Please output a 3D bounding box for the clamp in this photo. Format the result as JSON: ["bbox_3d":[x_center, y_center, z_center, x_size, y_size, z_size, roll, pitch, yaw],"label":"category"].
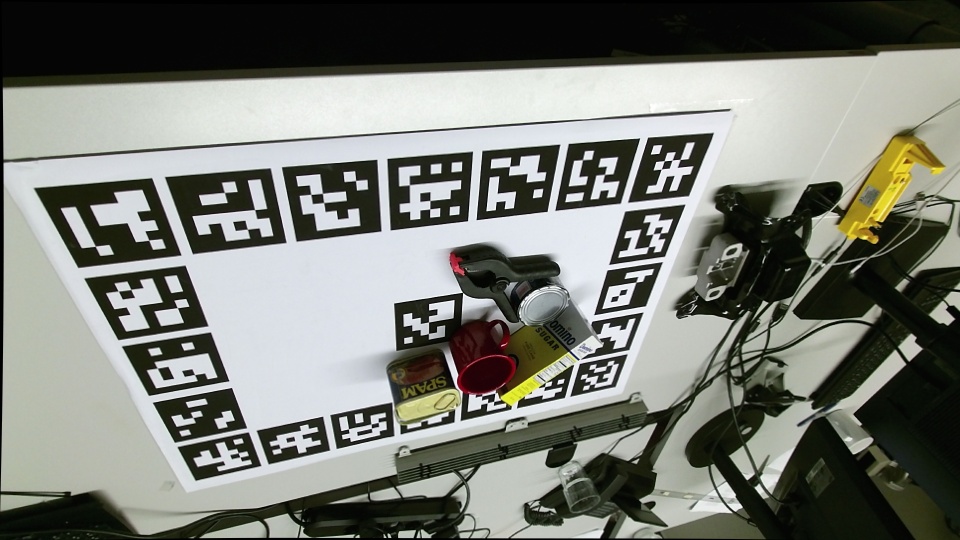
[{"bbox_3d":[0.036,0.006,0.764,0.166,0.036,0.122,26,118,-31],"label":"clamp"}]

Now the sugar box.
[{"bbox_3d":[0.107,0.124,0.851,0.177,0.092,0.045,-36,133,11],"label":"sugar box"}]

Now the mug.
[{"bbox_3d":[0.020,0.127,0.814,0.094,0.081,0.117,14,119,-30],"label":"mug"}]

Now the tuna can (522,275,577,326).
[{"bbox_3d":[0.108,0.041,0.815,0.086,0.033,0.086,-11,129,-14],"label":"tuna can"}]

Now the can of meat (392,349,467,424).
[{"bbox_3d":[-0.081,0.176,0.824,0.102,0.083,0.058,-14,132,-9],"label":"can of meat"}]
